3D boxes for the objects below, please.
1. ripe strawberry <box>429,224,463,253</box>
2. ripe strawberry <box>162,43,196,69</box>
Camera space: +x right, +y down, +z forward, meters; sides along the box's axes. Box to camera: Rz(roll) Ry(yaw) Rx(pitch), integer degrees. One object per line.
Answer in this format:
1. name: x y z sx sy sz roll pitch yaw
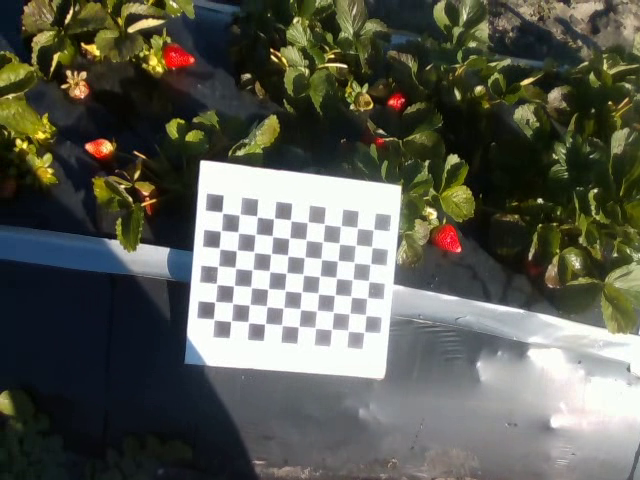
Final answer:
1. ripe strawberry: 0.202 -0.001 0.935 0.048 0.054 0.029 -40 8 -5
2. ripe strawberry: -0.241 -0.313 1.020 0.064 0.049 0.052 13 2 0
